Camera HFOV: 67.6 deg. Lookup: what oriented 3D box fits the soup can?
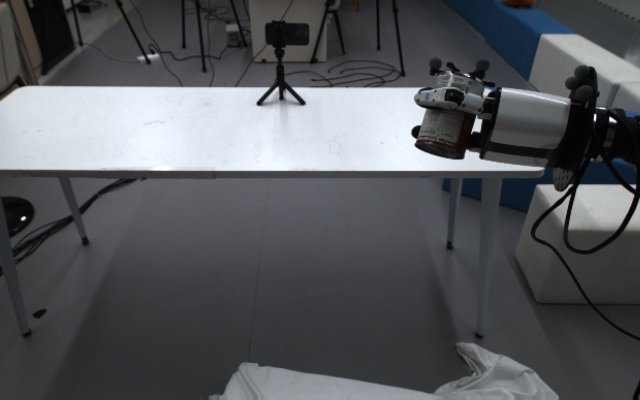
[{"bbox_3d":[0.175,-0.115,0.656,0.067,0.101,0.067,18,-2,1],"label":"soup can"}]
